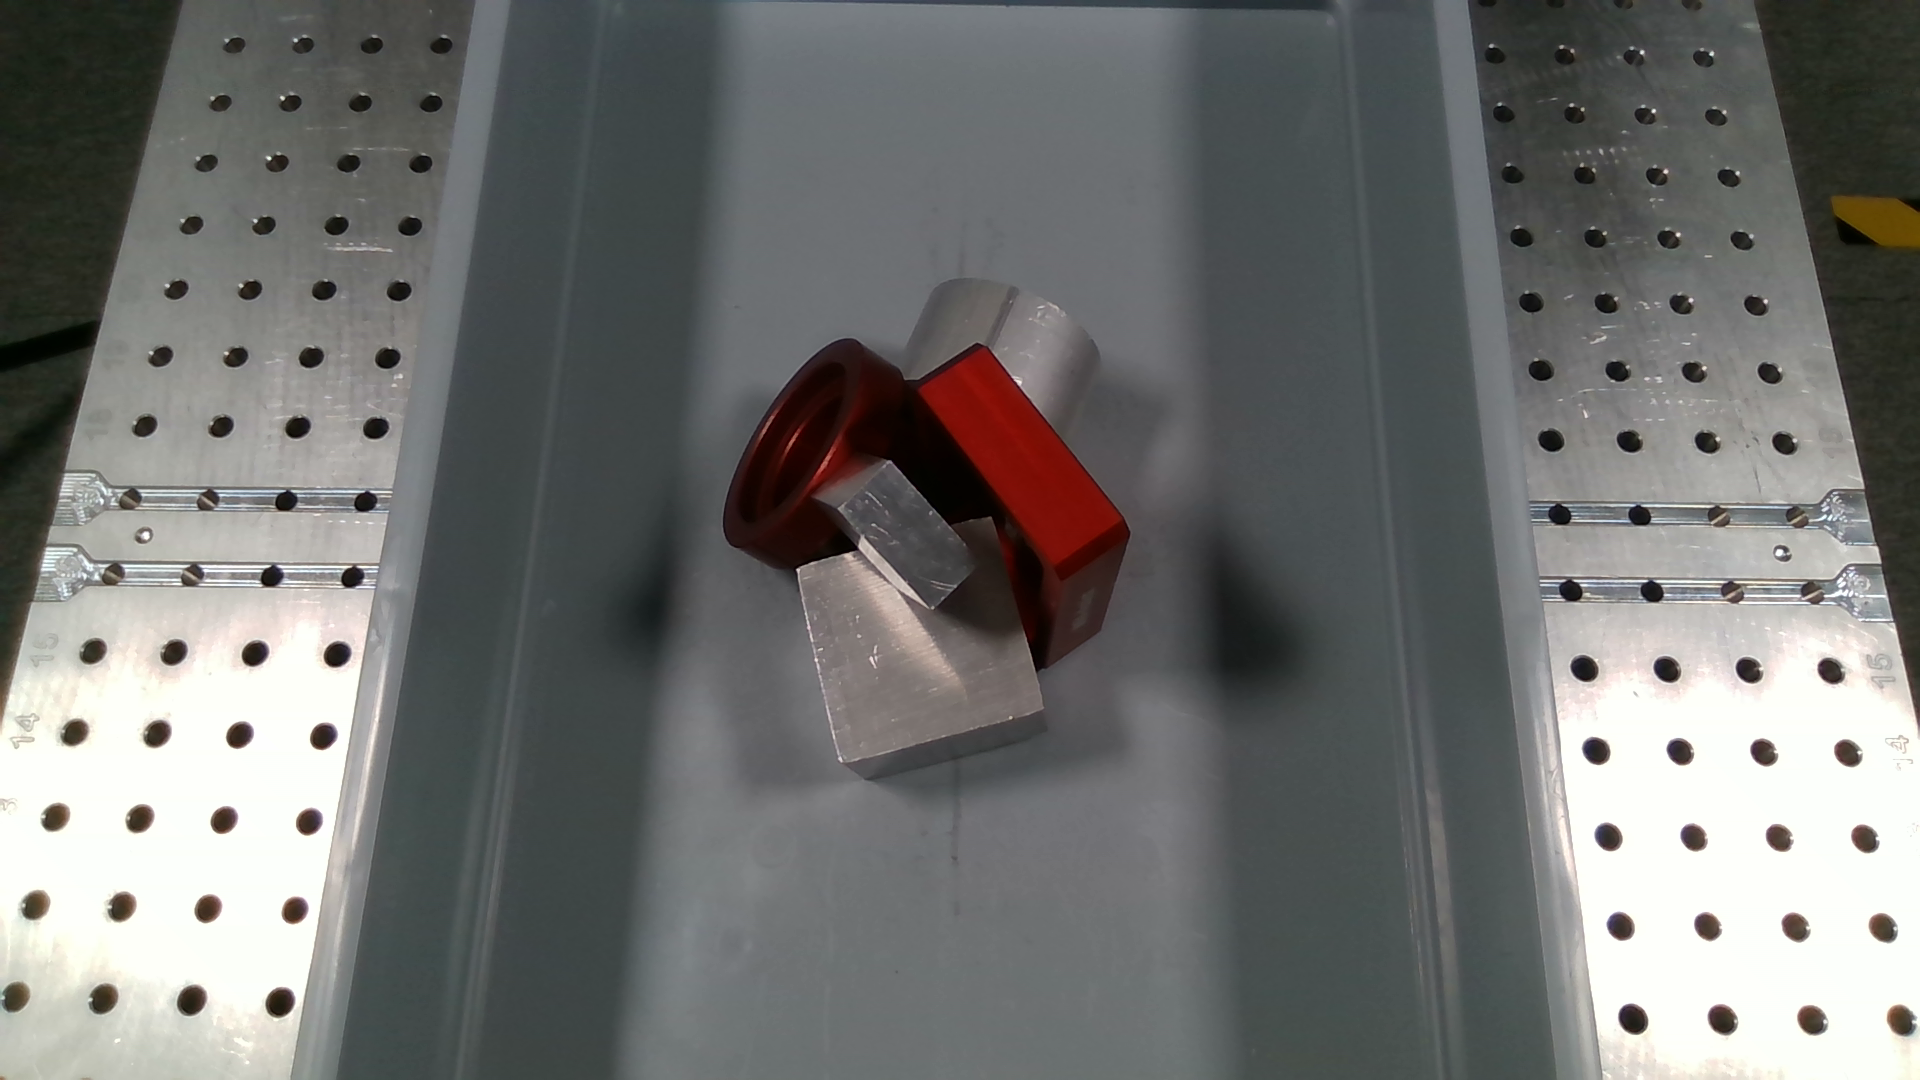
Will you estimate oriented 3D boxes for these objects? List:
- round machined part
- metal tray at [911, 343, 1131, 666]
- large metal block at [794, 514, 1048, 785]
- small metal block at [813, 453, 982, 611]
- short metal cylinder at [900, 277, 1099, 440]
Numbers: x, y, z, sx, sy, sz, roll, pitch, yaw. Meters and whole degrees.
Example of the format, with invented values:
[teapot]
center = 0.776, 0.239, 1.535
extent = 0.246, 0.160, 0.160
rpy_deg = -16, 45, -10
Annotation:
[round machined part]
center = -0.054, -0.031, 0.569
extent = 0.042, 0.098, 0.098
rpy_deg = 31, 69, -27
[metal tray]
center = 0.021, -0.008, 0.534
extent = 0.030, 0.130, 0.090
rpy_deg = -34, 74, -10
[large metal block]
center = -0.014, 0.045, 0.550
extent = 0.080, 0.050, 0.080
rpy_deg = -15, 71, -1
[small metal block]
center = -0.024, -0.005, 0.503
extent = 0.025, 0.050, 0.050
rpy_deg = -44, 108, -7
[short metal cylinder]
center = 0.013, -0.066, 0.581
extent = 0.080, 0.080, 0.050
rpy_deg = 21, 71, 7
